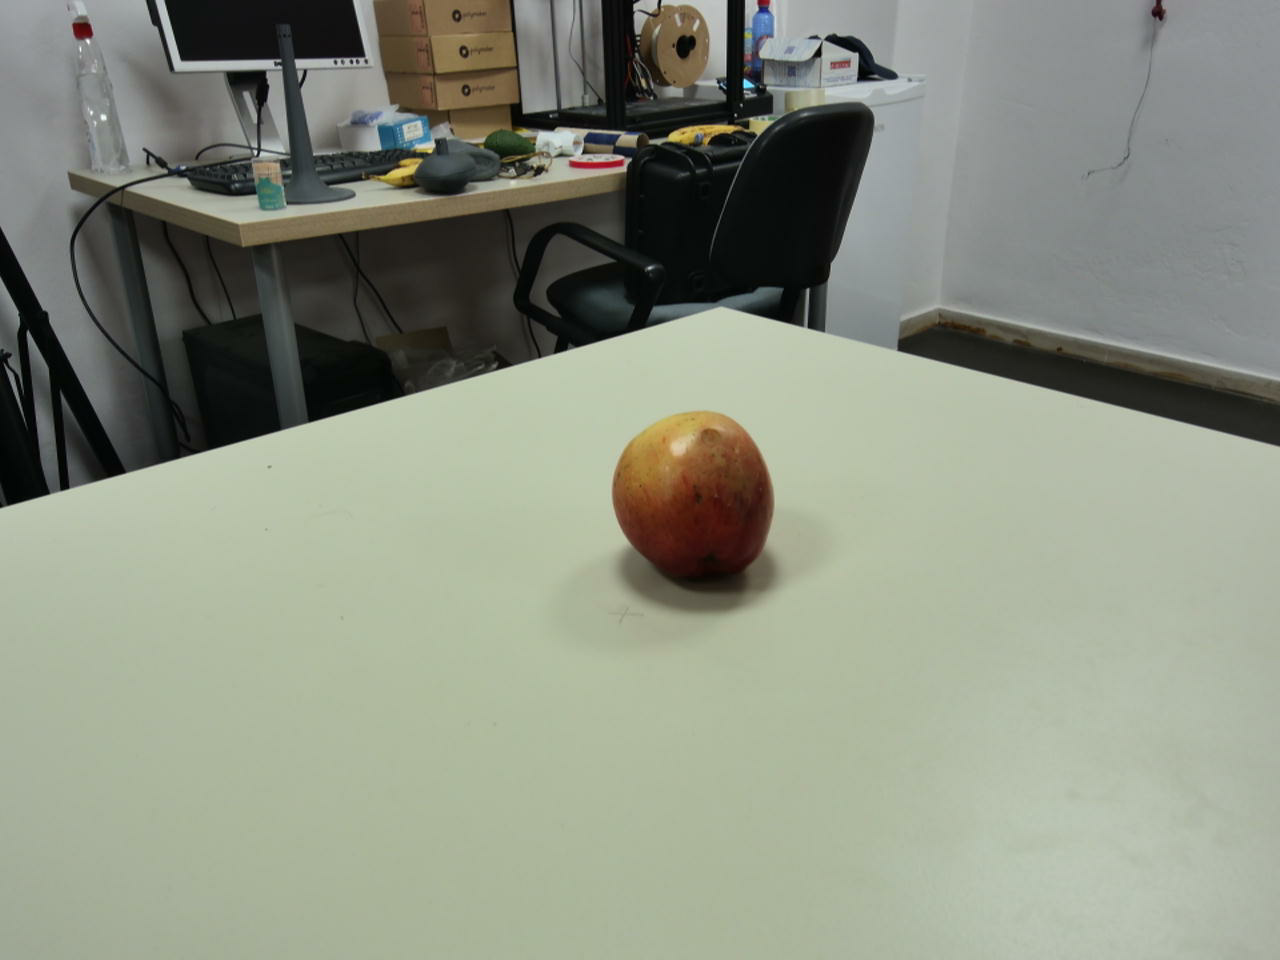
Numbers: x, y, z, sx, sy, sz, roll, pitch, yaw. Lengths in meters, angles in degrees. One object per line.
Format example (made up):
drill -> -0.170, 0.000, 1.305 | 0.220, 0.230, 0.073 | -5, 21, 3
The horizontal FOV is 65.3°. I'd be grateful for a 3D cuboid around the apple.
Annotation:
apple -> 0.028, 0.006, 0.535 | 0.086, 0.084, 0.093 | 4, 24, 12
